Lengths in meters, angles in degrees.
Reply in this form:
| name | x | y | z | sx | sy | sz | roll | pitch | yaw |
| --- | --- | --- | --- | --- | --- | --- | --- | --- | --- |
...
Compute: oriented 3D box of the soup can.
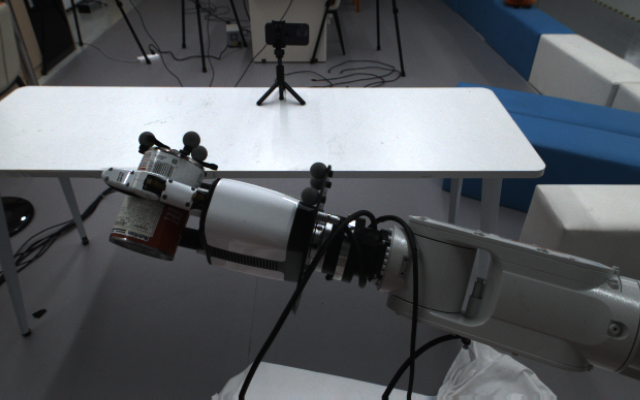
| name | x | y | z | sx | sy | sz | roll | pitch | yaw |
| --- | --- | --- | --- | --- | --- | --- | --- | --- | --- |
| soup can | -0.166 | 0.006 | 0.504 | 0.067 | 0.067 | 0.101 | 11 | 72 | 13 |
